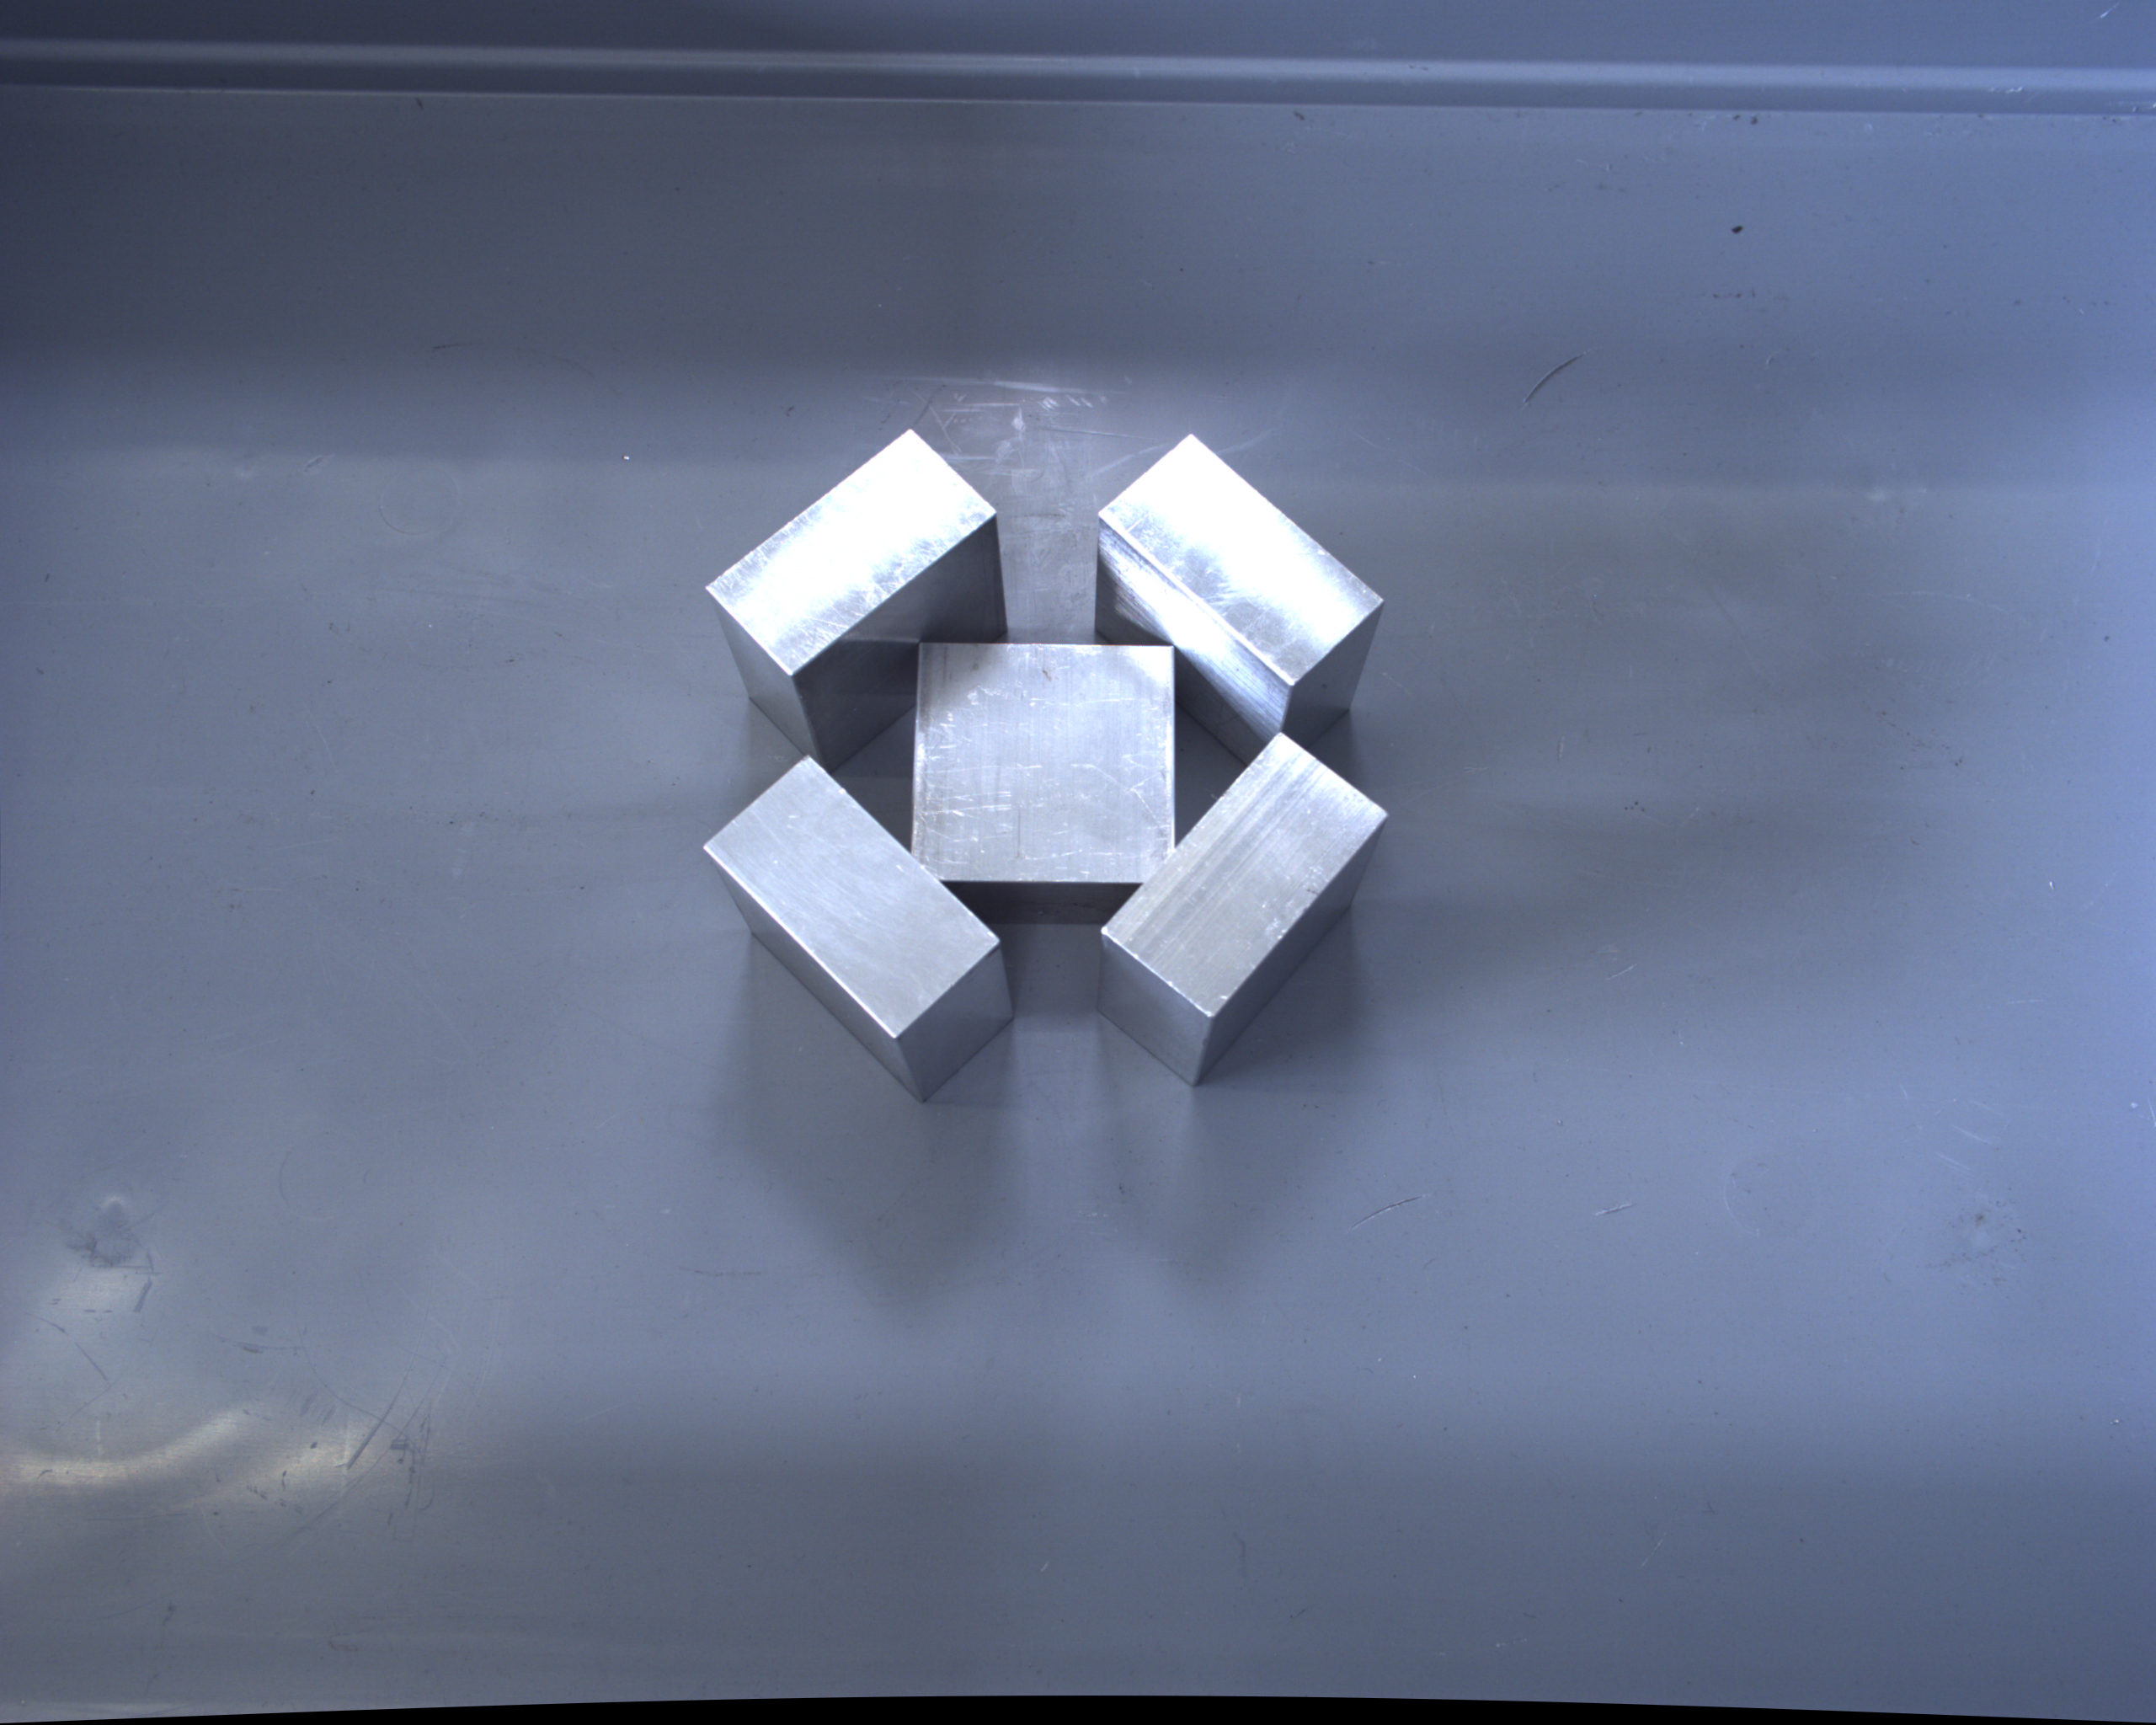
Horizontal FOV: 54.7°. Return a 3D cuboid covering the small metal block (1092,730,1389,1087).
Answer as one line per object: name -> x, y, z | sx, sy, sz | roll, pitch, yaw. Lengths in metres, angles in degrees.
small metal block -> 0.029, 0.010, 0.390 | 0.025, 0.050, 0.050 | 39, 74, 12

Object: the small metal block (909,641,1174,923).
small metal block -> -0.007, -0.016, 0.413 | 0.050, 0.025, 0.050 | 1, 70, 0

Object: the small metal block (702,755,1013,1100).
small metal block -> -0.040, 0.014, 0.389 | 0.025, 0.050, 0.050 | -43, 76, -13

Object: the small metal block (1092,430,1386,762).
small metal block -> 0.030, -0.049, 0.412 | 0.025, 0.050, 0.050 | -43, 77, -15

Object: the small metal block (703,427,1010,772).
small metal block -> -0.042, -0.050, 0.412 | 0.050, 0.050, 0.025 | -40, 74, -13
